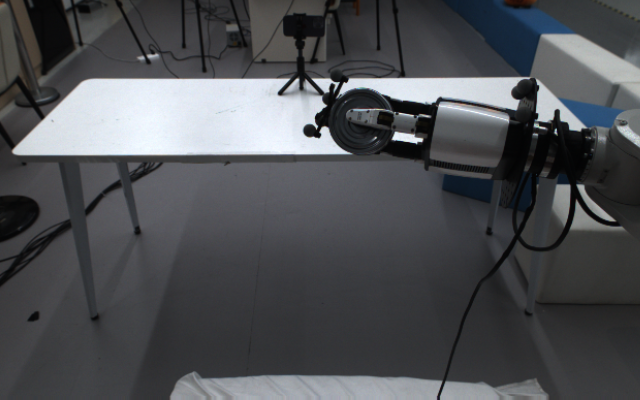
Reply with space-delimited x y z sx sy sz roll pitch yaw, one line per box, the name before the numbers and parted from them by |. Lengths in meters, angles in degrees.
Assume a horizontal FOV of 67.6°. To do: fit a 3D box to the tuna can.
tuna can | 0.056 -0.103 0.630 0.085 0.085 0.034 9 4 10
